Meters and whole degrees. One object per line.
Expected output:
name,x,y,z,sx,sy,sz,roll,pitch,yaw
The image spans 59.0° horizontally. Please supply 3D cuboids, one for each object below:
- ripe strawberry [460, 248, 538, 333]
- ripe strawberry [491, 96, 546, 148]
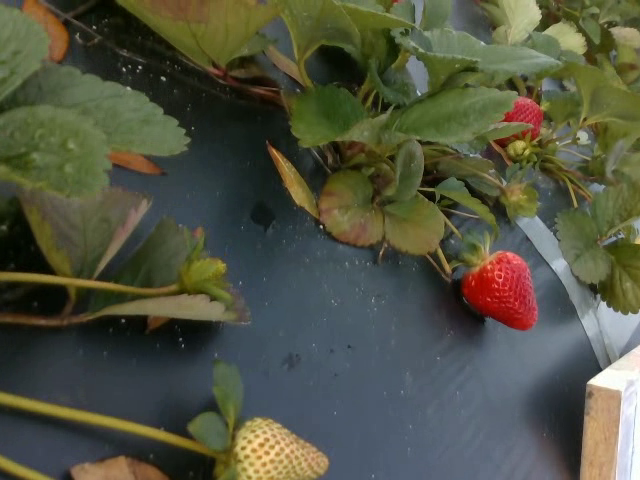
ripe strawberry,0.094,0.025,0.284,0.036,0.046,0.040,-20,-27,-32
ripe strawberry,0.158,-0.105,0.459,0.062,0.043,0.042,21,-5,-37
